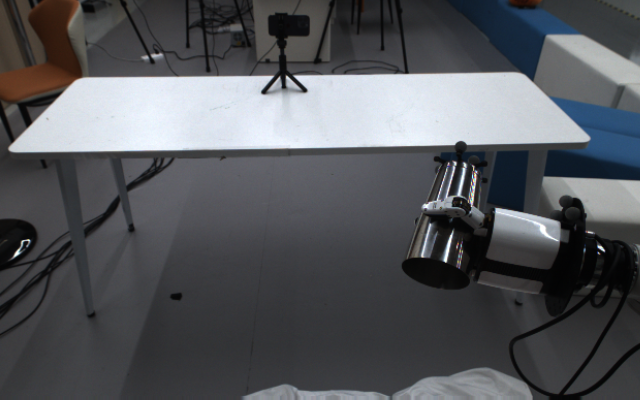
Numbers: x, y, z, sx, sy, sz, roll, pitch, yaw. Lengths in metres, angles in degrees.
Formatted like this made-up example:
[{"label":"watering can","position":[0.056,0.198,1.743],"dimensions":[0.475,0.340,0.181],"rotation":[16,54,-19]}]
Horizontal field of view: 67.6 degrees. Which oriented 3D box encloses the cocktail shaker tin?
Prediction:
[{"label":"cocktail shaker tin","position":[0.181,0.029,0.685],"dimensions":[0.093,0.093,0.170],"rotation":[14,61,17]}]
